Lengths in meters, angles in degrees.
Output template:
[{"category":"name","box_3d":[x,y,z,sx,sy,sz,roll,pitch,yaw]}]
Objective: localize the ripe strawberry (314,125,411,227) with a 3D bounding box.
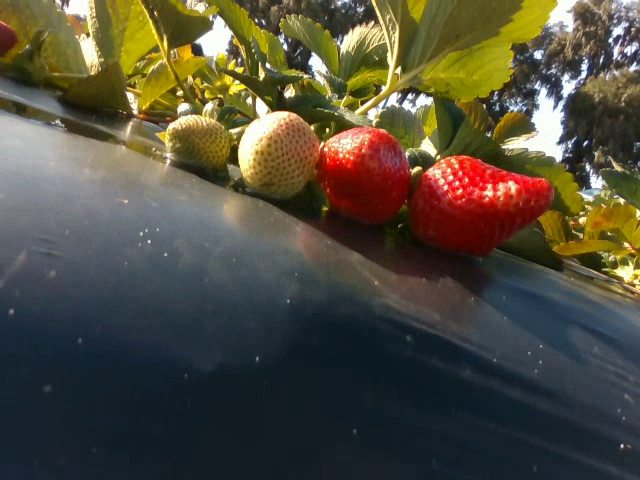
[{"category":"ripe strawberry","box_3d":[0.018,-0.029,0.239,0.050,0.044,0.061,40,0,7]}]

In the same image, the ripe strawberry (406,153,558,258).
[{"category":"ripe strawberry","box_3d":[0.069,-0.014,0.245,0.056,0.052,0.067,-23,10,-40]}]
